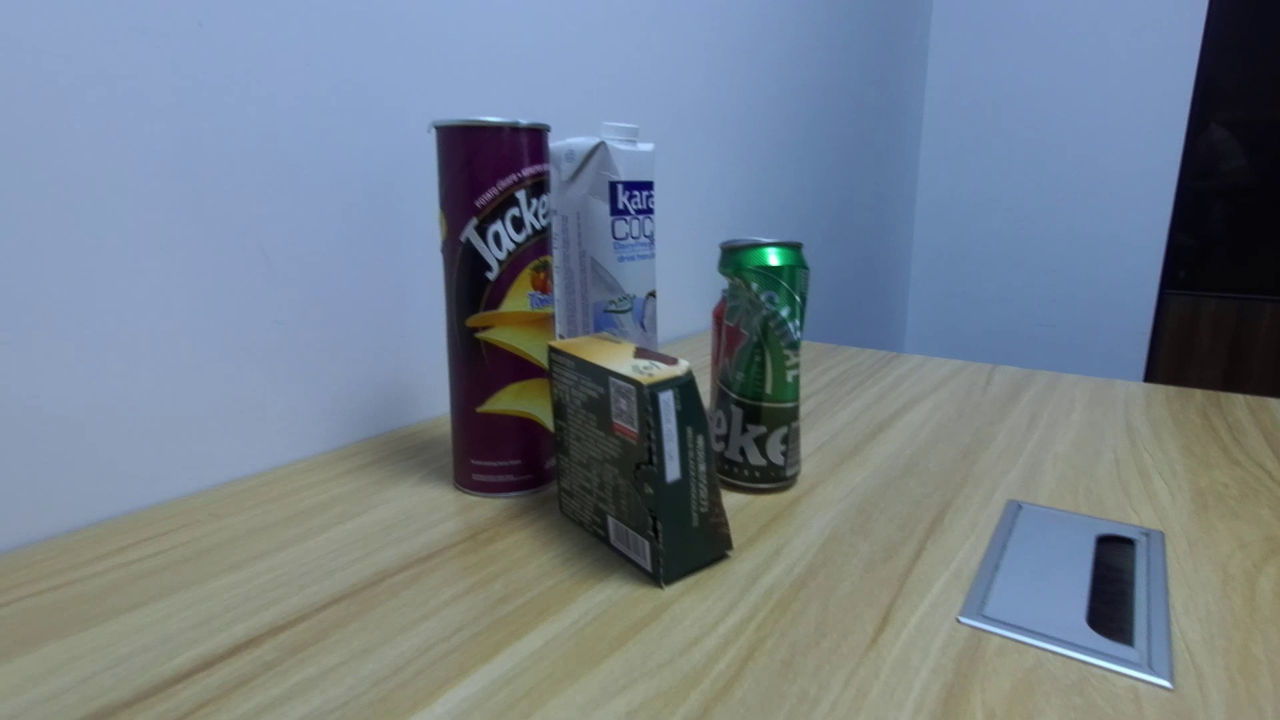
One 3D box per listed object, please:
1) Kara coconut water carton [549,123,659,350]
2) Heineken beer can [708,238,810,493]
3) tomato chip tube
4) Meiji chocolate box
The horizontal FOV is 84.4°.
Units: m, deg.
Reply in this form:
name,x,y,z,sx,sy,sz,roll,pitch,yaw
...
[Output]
name,x,y,z,sx,sy,sz,roll,pitch,yaw
Kara coconut water carton,-0.029,-0.067,0.586,0.075,0.245,0.077,8,16,35
Heineken beer can,0.079,0.004,0.478,0.066,0.164,0.078,5,9,22
tomato chip tube,-0.093,-0.034,0.477,0.080,0.234,0.076,-11,16,-38
Meiji chocolate box,-0.002,0.047,0.400,0.058,0.110,0.112,-13,17,-31
